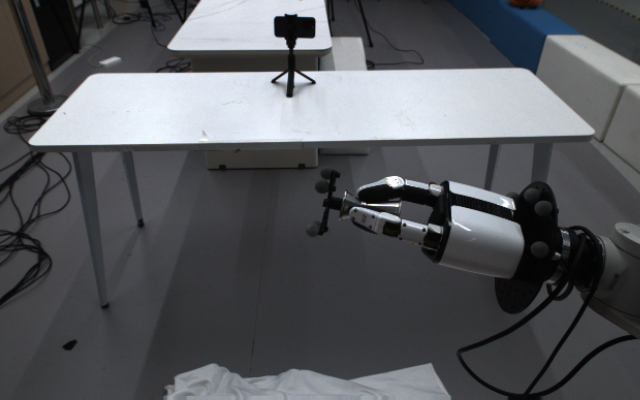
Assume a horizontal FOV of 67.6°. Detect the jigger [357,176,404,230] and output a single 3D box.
[{"bbox_3d":[0.067,0.011,0.581,0.071,0.043,0.043,12,36,5],"label":"jigger"}]
